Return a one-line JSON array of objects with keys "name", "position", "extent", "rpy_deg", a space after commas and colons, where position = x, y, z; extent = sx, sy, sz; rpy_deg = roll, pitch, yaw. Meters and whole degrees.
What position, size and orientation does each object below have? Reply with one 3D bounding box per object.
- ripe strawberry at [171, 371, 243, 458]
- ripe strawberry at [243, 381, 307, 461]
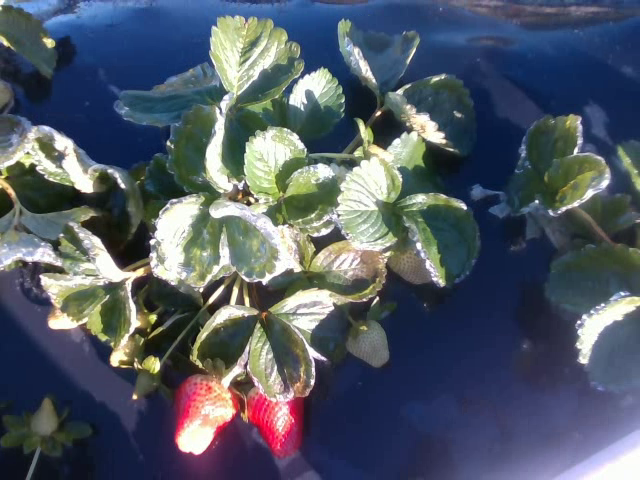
[{"name": "ripe strawberry", "position": [-0.088, 0.140, 0.498], "extent": [0.053, 0.070, 0.040], "rpy_deg": [18, -5, -10]}, {"name": "ripe strawberry", "position": [-0.034, 0.137, 0.490], "extent": [0.043, 0.059, 0.040], "rpy_deg": [-29, -1, 0]}]
